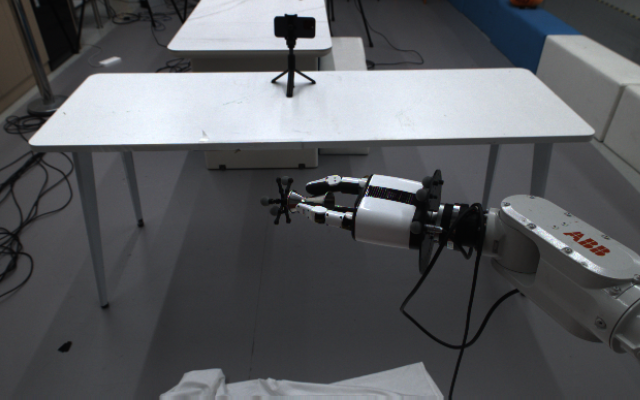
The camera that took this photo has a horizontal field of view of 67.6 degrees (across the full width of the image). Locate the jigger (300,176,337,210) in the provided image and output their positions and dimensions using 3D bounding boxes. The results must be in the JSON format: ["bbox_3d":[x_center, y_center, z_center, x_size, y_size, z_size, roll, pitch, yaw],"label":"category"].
[{"bbox_3d":[-0.008,-0.001,0.794,0.071,0.043,0.043,3,32,25],"label":"jigger"}]
